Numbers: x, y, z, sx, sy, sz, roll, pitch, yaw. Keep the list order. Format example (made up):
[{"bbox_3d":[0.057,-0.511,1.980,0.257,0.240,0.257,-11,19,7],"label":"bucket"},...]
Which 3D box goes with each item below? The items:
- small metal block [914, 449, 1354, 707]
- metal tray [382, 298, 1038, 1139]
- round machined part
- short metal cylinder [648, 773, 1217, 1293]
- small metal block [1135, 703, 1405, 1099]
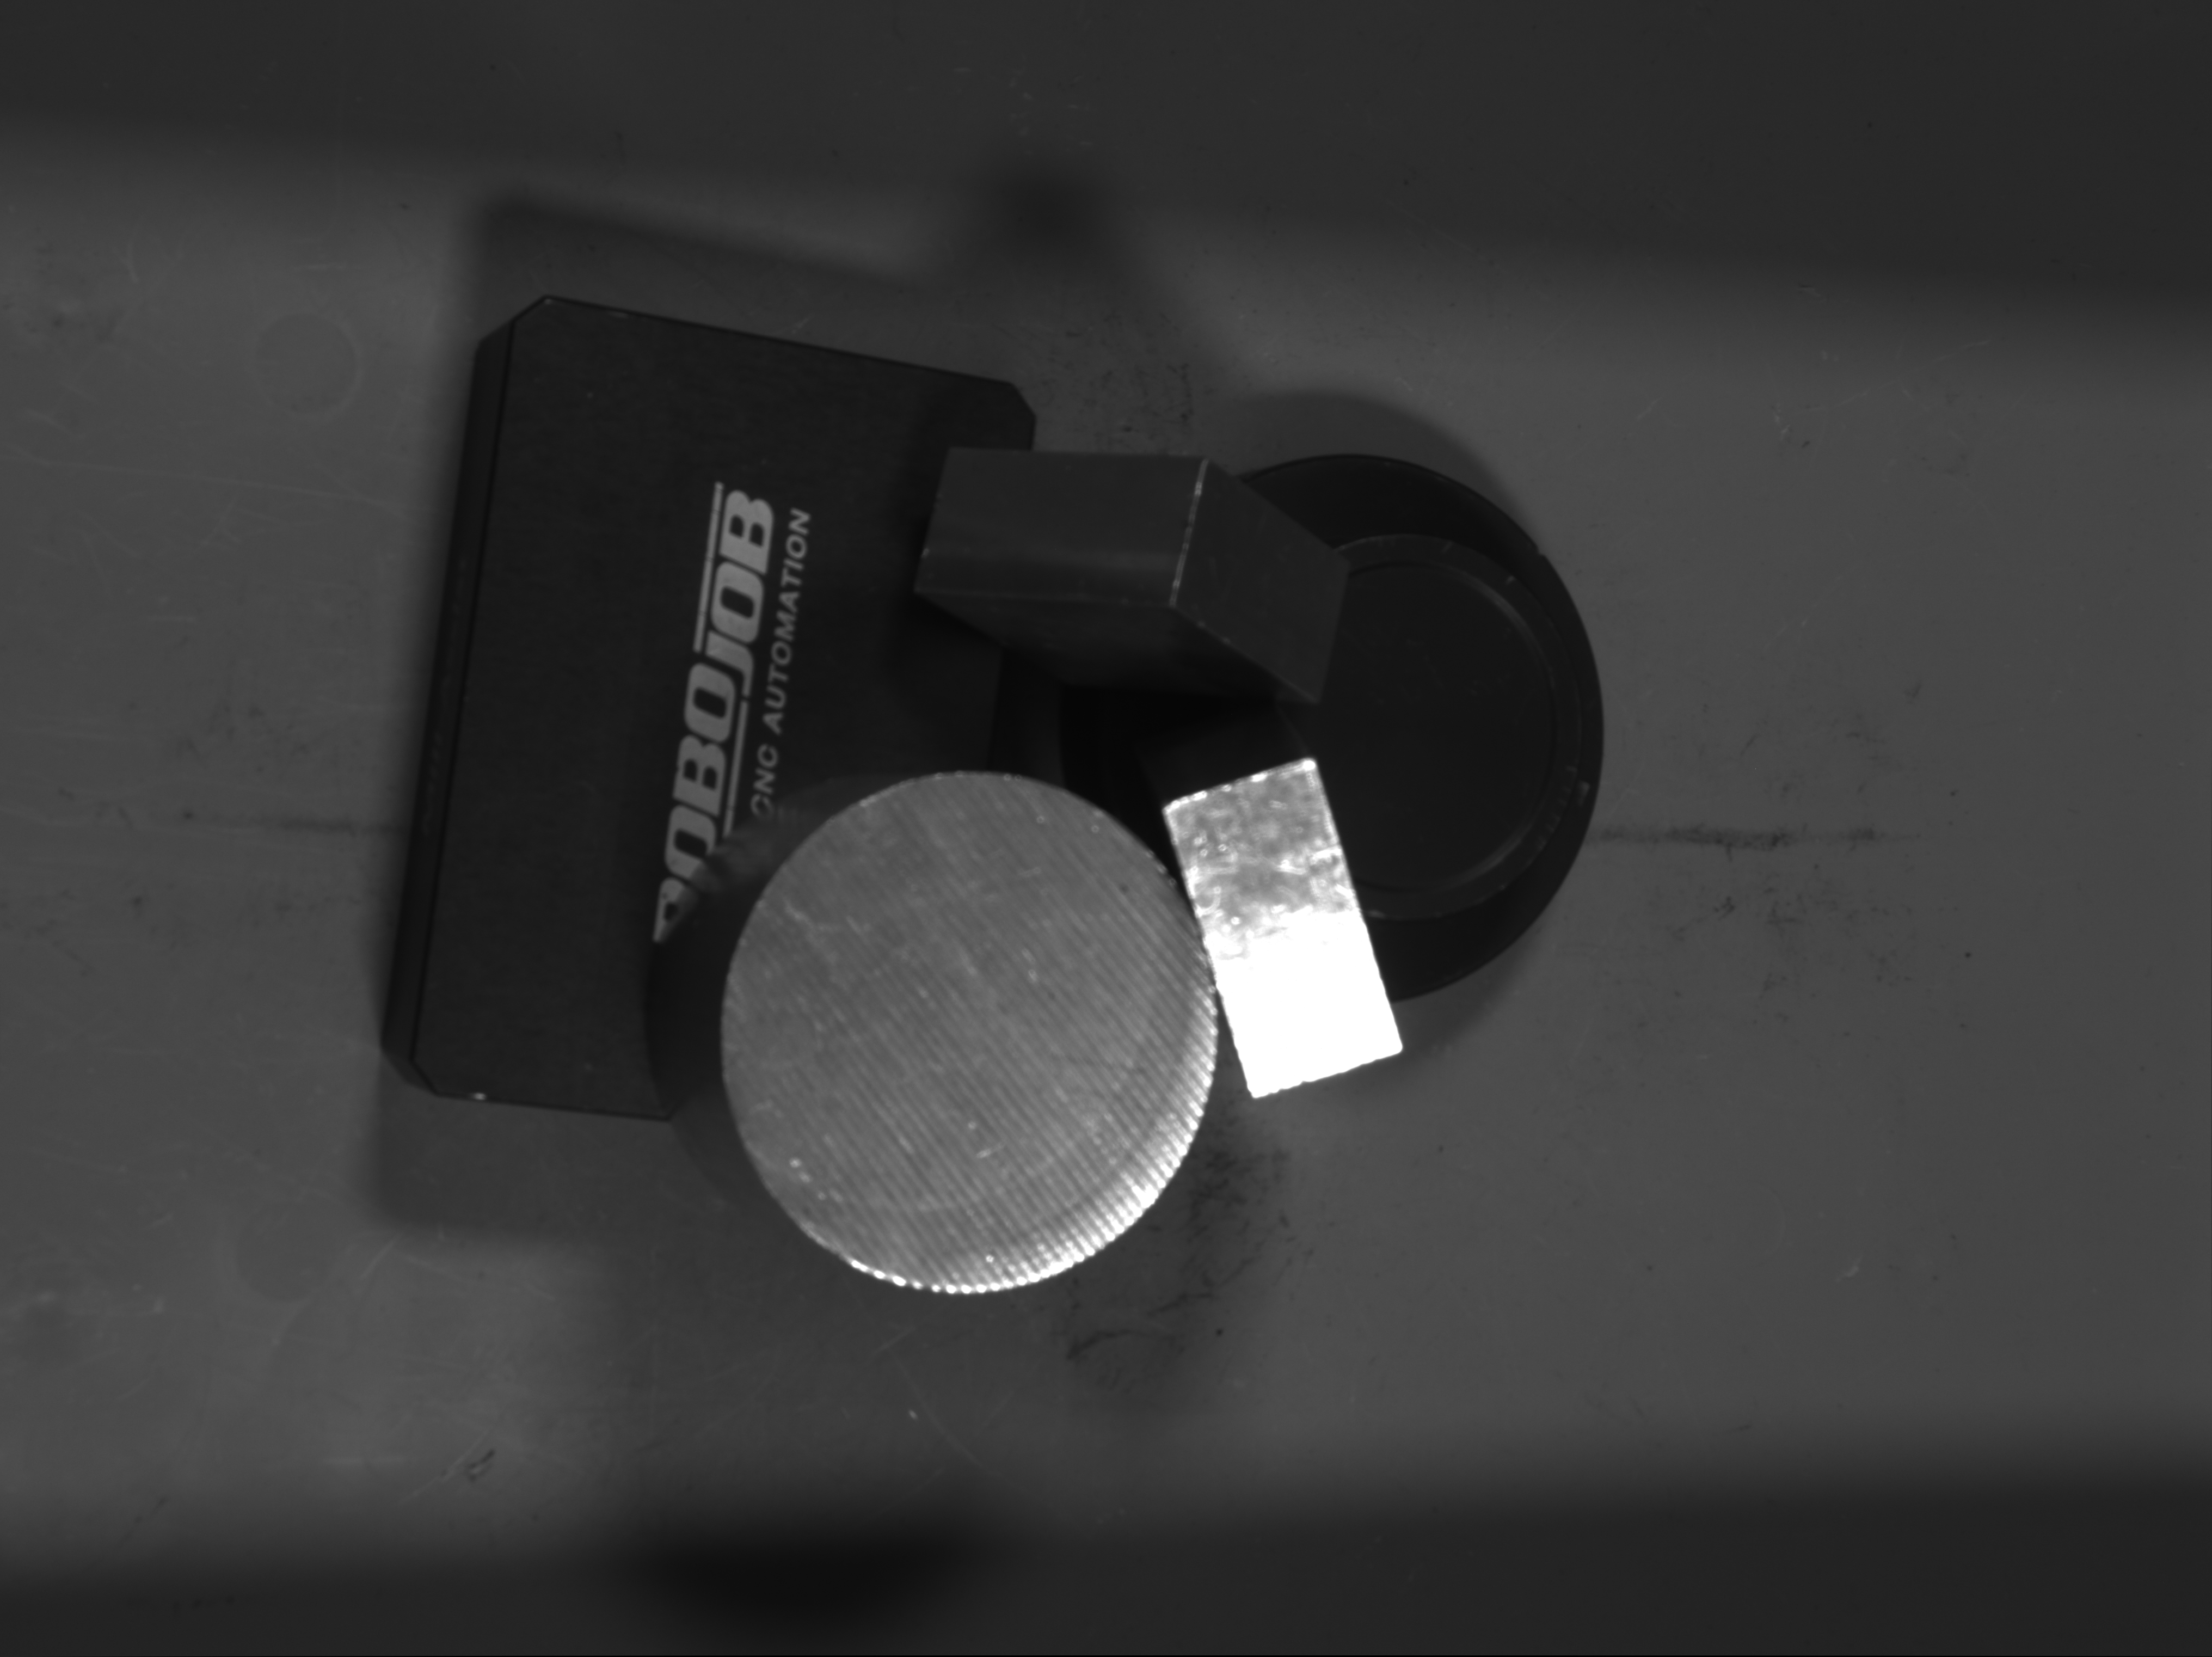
[{"bbox_3d":[0.005,-0.041,0.604,0.050,0.050,0.025,28,72,-55],"label":"small metal block"},{"bbox_3d":[-0.066,-0.015,0.613,0.090,0.030,0.130,8,87,-20],"label":"metal tray"},{"bbox_3d":[0.045,-0.017,0.649,0.098,0.042,0.098,0,90,-20],"label":"round machined part"},{"bbox_3d":[-0.029,0.031,0.587,0.080,0.050,0.080,0,90,-20],"label":"short metal cylinder"},{"bbox_3d":[0.026,0.010,0.597,0.025,0.050,0.050,-18,103,0],"label":"small metal block"}]
